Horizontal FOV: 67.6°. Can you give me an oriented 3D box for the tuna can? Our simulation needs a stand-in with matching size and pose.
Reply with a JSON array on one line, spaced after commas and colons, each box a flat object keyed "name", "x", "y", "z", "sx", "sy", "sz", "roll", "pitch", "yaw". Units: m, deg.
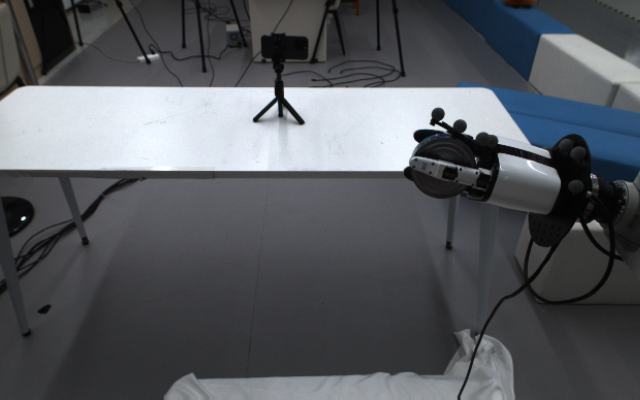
[{"name": "tuna can", "x": 0.169, "y": -0.049, "z": 0.665, "sx": 0.085, "sy": 0.085, "sz": 0.034, "roll": 7, "pitch": 17, "yaw": 7}]
